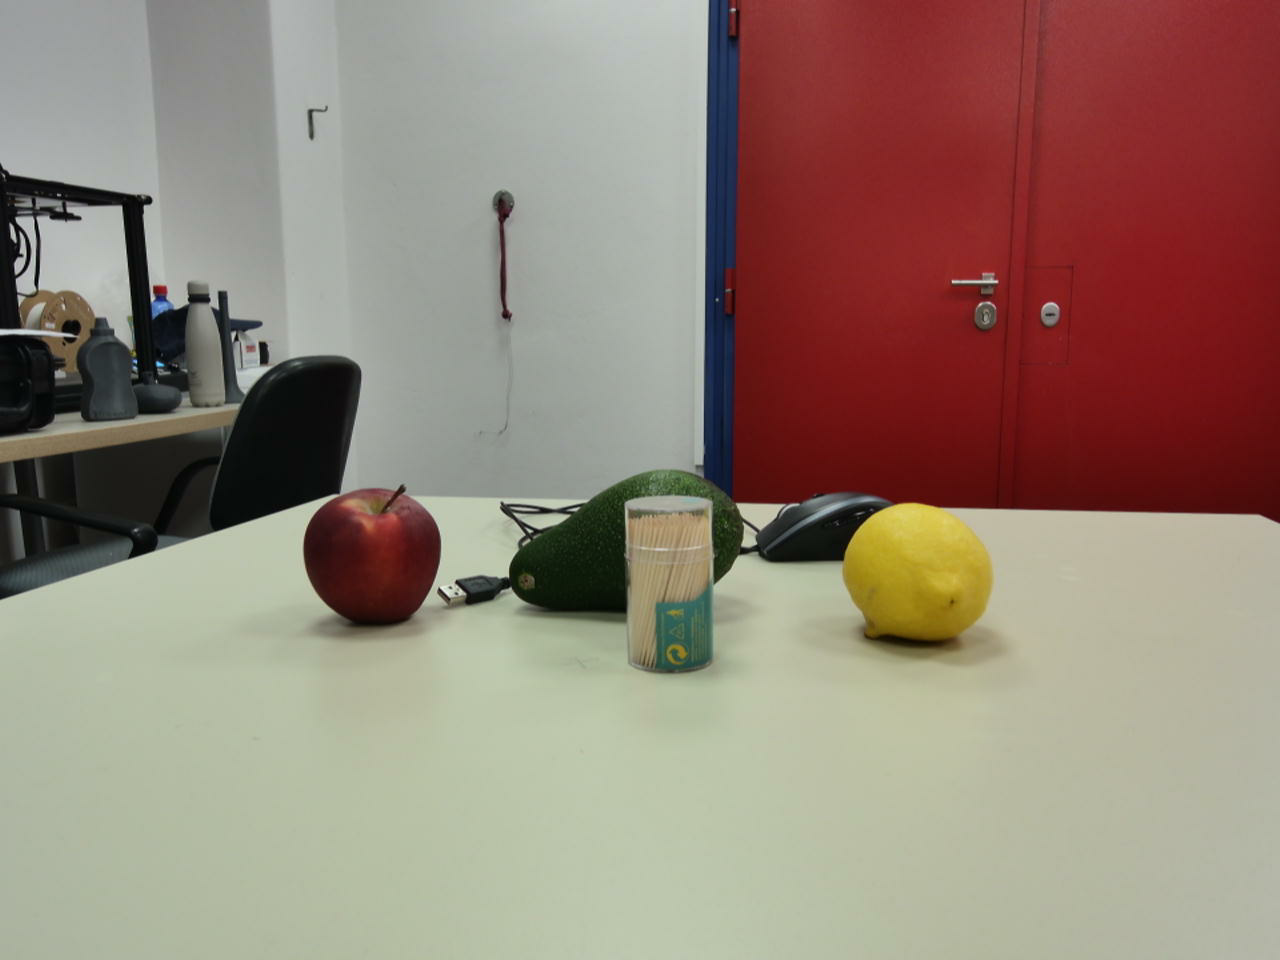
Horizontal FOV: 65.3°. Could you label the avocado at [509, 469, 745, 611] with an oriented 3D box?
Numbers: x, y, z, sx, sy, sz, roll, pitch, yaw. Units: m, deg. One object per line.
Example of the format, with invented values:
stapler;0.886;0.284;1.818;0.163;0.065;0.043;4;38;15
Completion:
avocado;-0.004;0.031;0.547;0.123;0.076;0.074;2;6;18
